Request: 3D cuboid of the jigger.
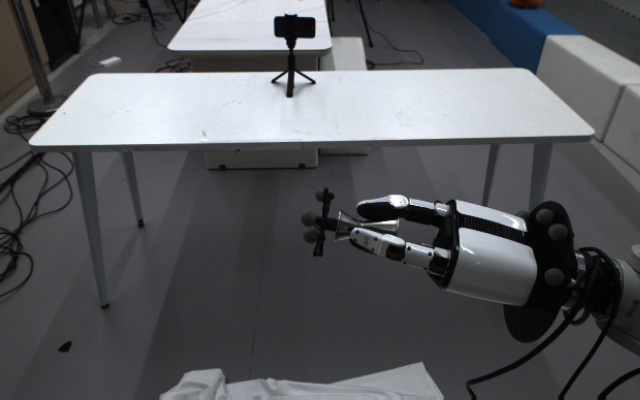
[{"bbox_3d":[0.062,0.029,0.558,0.071,0.043,0.043,7,35,9],"label":"jigger"}]
